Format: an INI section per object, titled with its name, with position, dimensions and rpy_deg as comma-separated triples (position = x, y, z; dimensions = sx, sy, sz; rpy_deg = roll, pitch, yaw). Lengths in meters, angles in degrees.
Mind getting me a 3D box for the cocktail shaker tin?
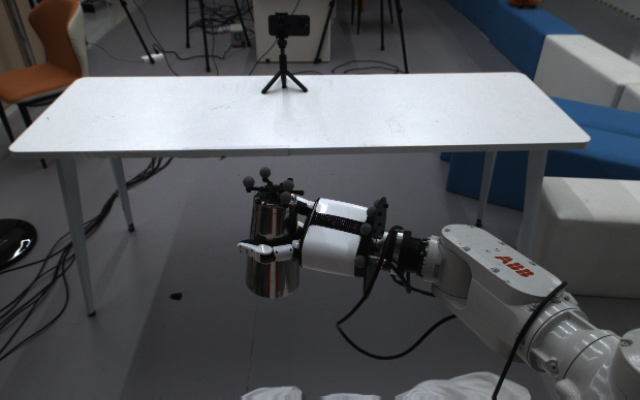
[cocktail shaker tin]
position = -0.075, 0.063, 0.780
dimensions = 0.093, 0.170, 0.093
rpy_deg = 3, 32, -2
